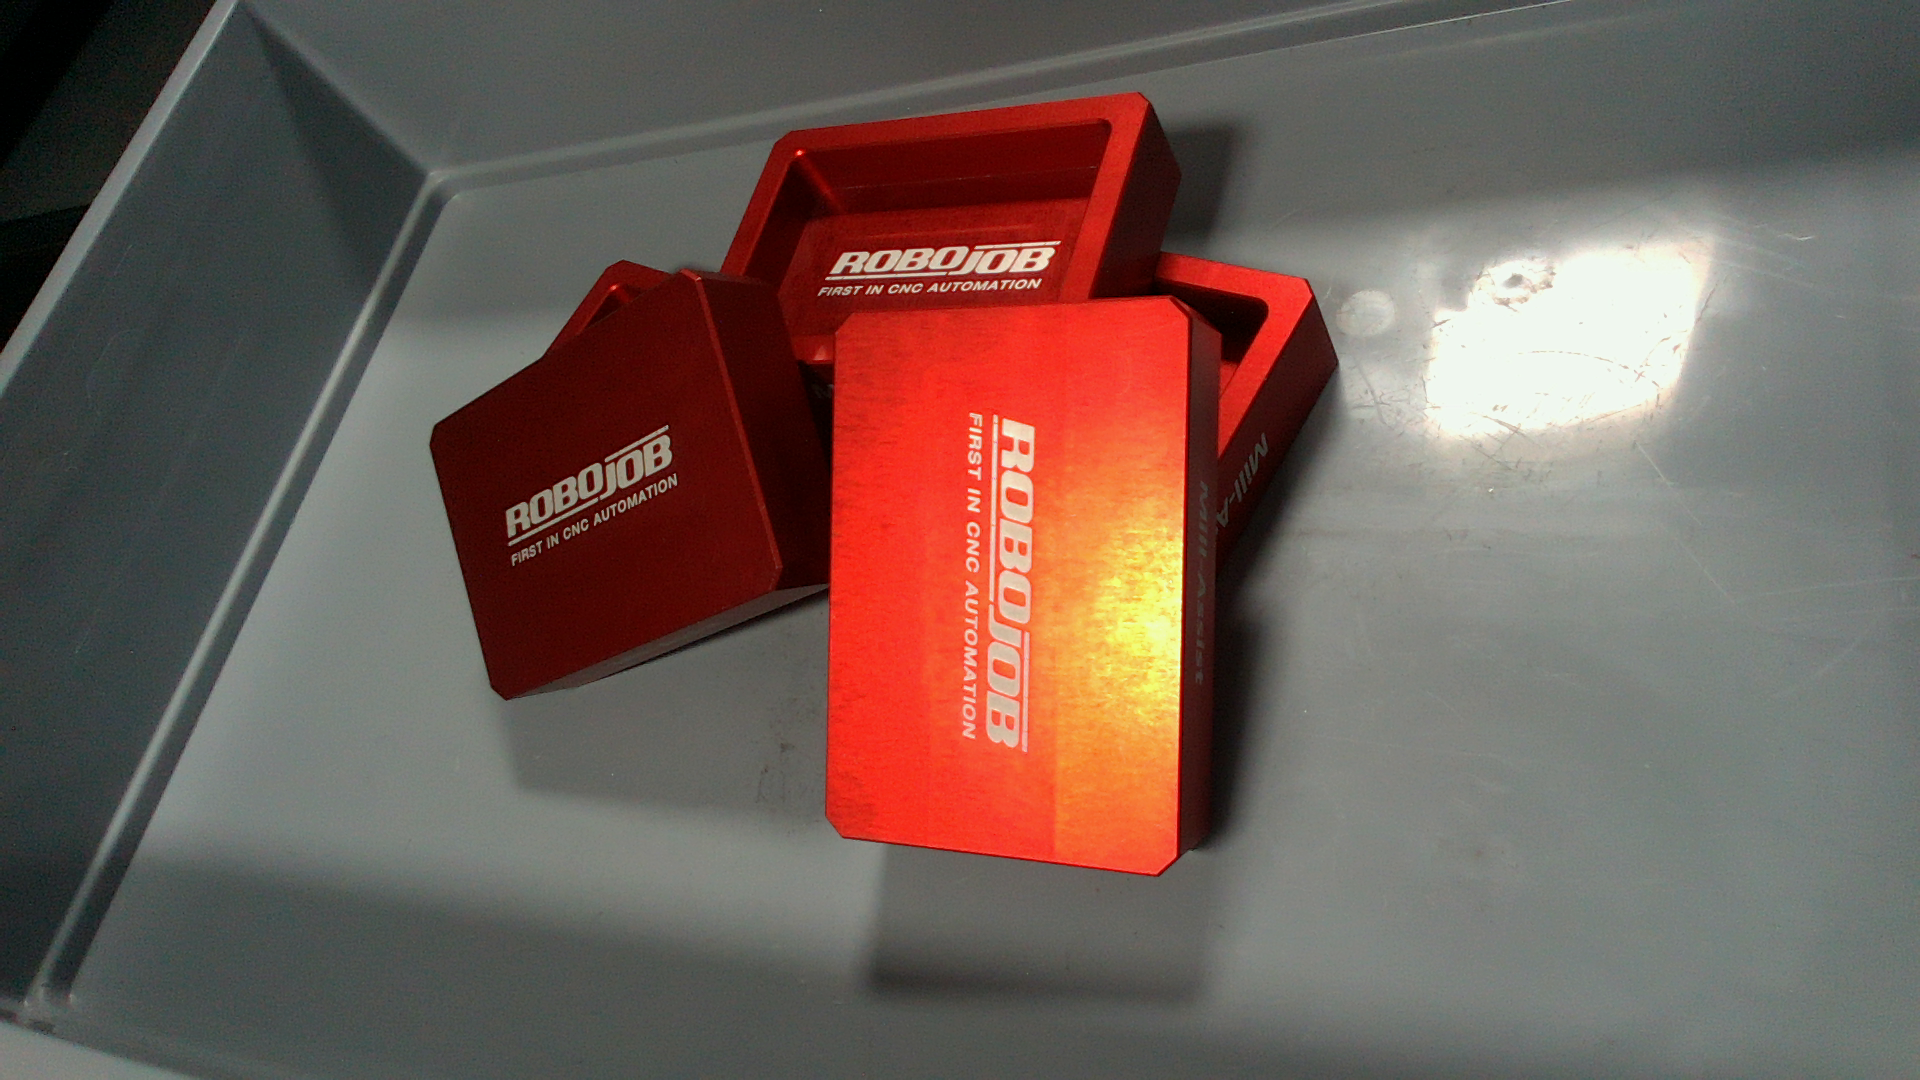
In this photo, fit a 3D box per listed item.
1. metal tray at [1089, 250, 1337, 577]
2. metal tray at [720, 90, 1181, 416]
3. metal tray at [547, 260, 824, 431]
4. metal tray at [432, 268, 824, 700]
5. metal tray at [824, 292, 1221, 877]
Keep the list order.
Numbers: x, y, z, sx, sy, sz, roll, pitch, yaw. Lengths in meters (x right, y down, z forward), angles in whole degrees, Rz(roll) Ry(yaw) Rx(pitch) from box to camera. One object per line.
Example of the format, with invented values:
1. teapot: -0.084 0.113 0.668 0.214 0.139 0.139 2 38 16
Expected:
1. metal tray: 0.035 -0.020 0.382 0.090 0.030 0.130 21 73 36
2. metal tray: -0.009 -0.082 0.405 0.130 0.030 0.090 3 63 30
3. metal tray: -0.094 -0.040 0.463 0.130 0.030 0.090 21 73 36
4. metal tray: -0.099 -0.012 0.406 0.129 0.030 0.090 -22 81 35
5. metal tray: 0.014 0.009 0.334 0.090 0.030 0.130 1 91 23
